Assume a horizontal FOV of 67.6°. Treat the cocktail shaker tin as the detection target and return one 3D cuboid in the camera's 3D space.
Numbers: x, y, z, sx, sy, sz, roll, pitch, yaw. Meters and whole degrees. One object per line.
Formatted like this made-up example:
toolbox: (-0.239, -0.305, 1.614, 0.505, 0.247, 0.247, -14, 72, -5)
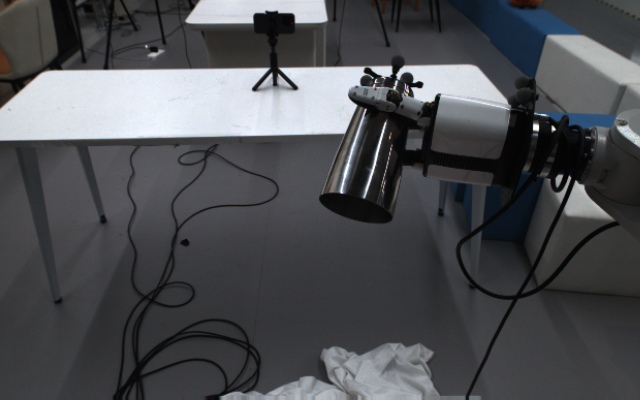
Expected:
cocktail shaker tin: (0.069, -0.068, 0.612, 0.093, 0.093, 0.170, 12, 72, 15)
